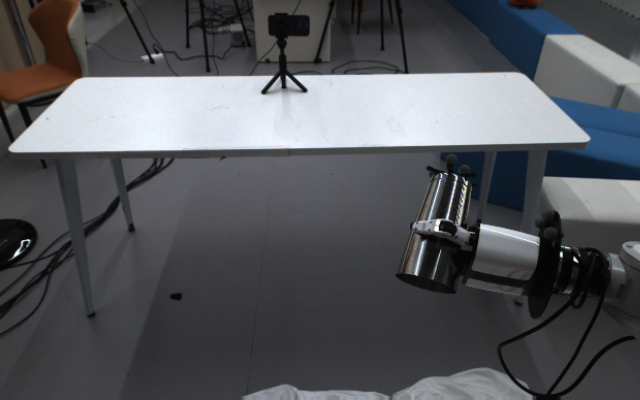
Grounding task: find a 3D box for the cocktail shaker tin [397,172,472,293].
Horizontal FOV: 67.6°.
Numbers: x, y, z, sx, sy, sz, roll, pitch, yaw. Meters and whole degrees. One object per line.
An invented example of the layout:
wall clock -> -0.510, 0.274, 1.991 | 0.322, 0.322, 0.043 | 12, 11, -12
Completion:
cocktail shaker tin -> 0.183, 0.048, 0.744 | 0.093, 0.093, 0.170 | 14, 73, 16
